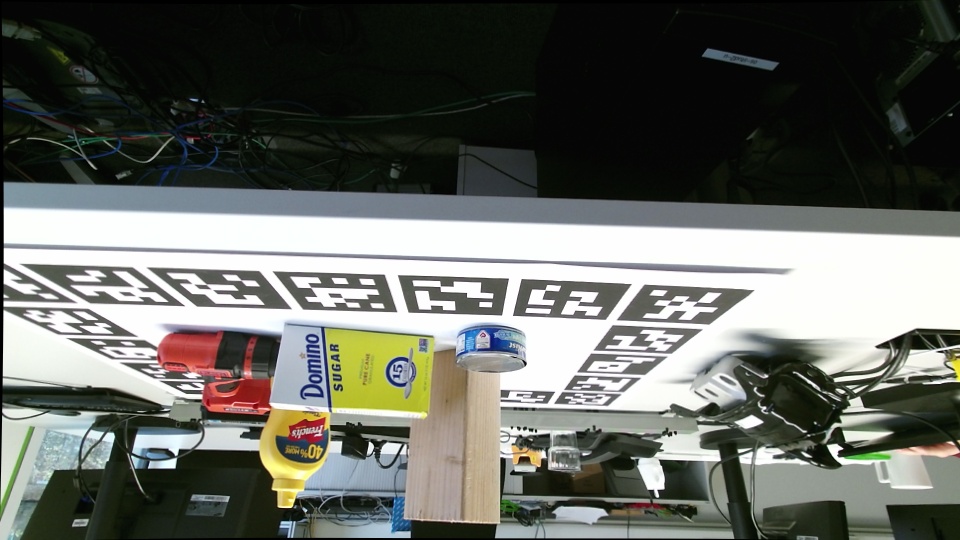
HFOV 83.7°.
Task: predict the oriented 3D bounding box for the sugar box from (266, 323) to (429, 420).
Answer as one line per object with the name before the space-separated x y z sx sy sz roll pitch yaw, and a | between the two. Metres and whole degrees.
sugar box | -0.153 0.121 0.630 0.177 0.092 0.045 9 153 -11

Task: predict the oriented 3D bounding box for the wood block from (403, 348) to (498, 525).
wood block | -0.033 0.216 0.698 0.091 0.205 0.090 -13 147 23

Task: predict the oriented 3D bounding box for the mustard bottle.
mustard bottle | -0.255 0.222 0.728 0.058 0.190 0.096 -21 143 33

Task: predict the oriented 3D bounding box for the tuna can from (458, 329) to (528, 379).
tuna can | 0.014 0.102 0.640 0.086 0.033 0.086 1 150 1

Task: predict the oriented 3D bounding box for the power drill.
power drill | -0.300 0.144 0.710 0.185 0.057 0.187 8 143 -13
